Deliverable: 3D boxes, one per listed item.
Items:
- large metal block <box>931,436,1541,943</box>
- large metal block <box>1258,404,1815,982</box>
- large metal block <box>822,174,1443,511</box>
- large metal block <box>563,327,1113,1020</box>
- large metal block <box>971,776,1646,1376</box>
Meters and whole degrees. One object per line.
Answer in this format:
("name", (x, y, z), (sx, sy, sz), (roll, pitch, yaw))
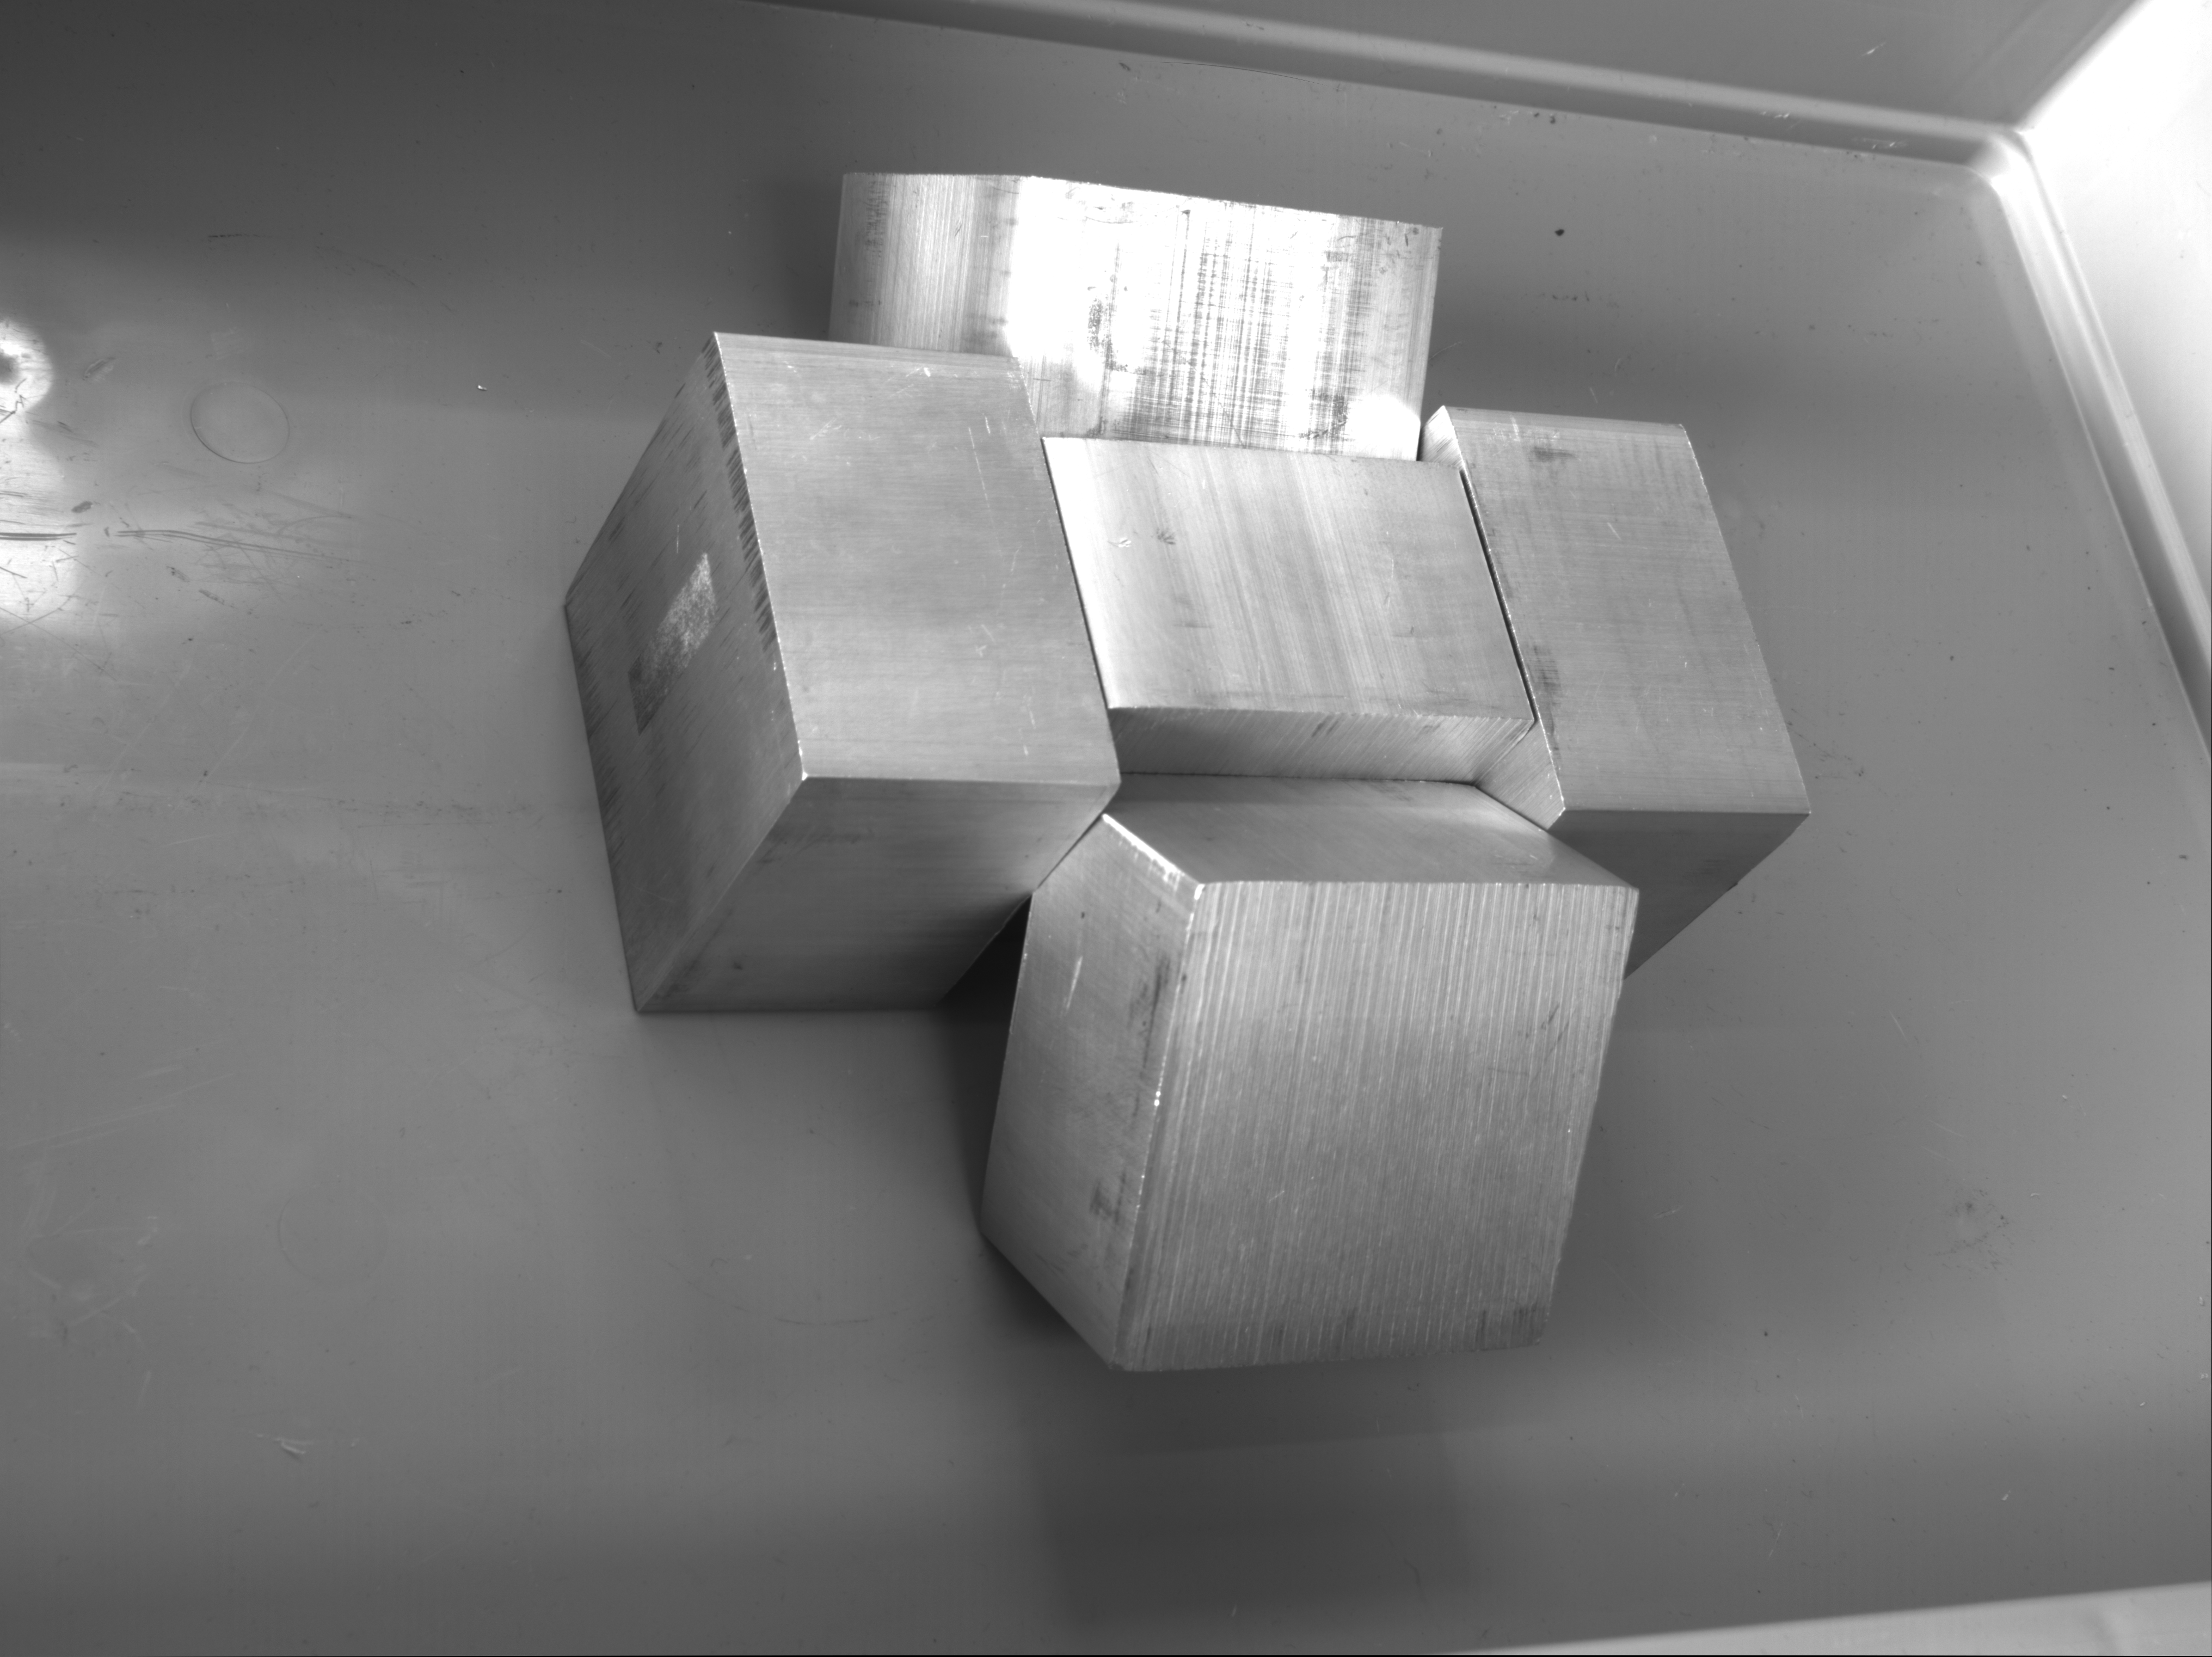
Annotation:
("large metal block", (0.014, -0.021, 0.623), (0.080, 0.080, 0.050), (1, 61, -28))
("large metal block", (0.072, -0.018, 0.652), (0.050, 0.080, 0.080), (1, 61, -28))
("large metal block", (0.002, -0.086, 0.648), (0.080, 0.080, 0.050), (2, 98, -27))
("large metal block", (-0.046, -0.023, 0.592), (0.050, 0.080, 0.080), (1, 61, -28))
("large metal block", (0.031, 0.038, 0.587), (0.080, 0.080, 0.050), (2, 19, -29))
